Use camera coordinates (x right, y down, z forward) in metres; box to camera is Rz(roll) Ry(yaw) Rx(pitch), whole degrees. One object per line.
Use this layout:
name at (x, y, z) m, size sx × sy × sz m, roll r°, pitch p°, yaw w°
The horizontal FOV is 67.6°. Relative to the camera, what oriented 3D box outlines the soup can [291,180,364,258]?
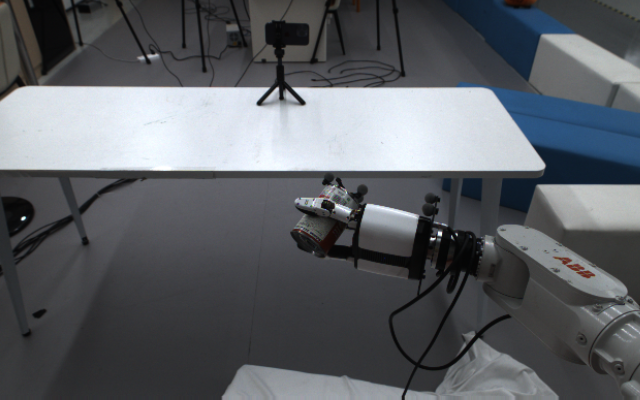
soup can at (0.009, 0.033, 0.775) m, size 0.067 × 0.067 × 0.101 m, roll 25°, pitch 66°, yaw 30°
